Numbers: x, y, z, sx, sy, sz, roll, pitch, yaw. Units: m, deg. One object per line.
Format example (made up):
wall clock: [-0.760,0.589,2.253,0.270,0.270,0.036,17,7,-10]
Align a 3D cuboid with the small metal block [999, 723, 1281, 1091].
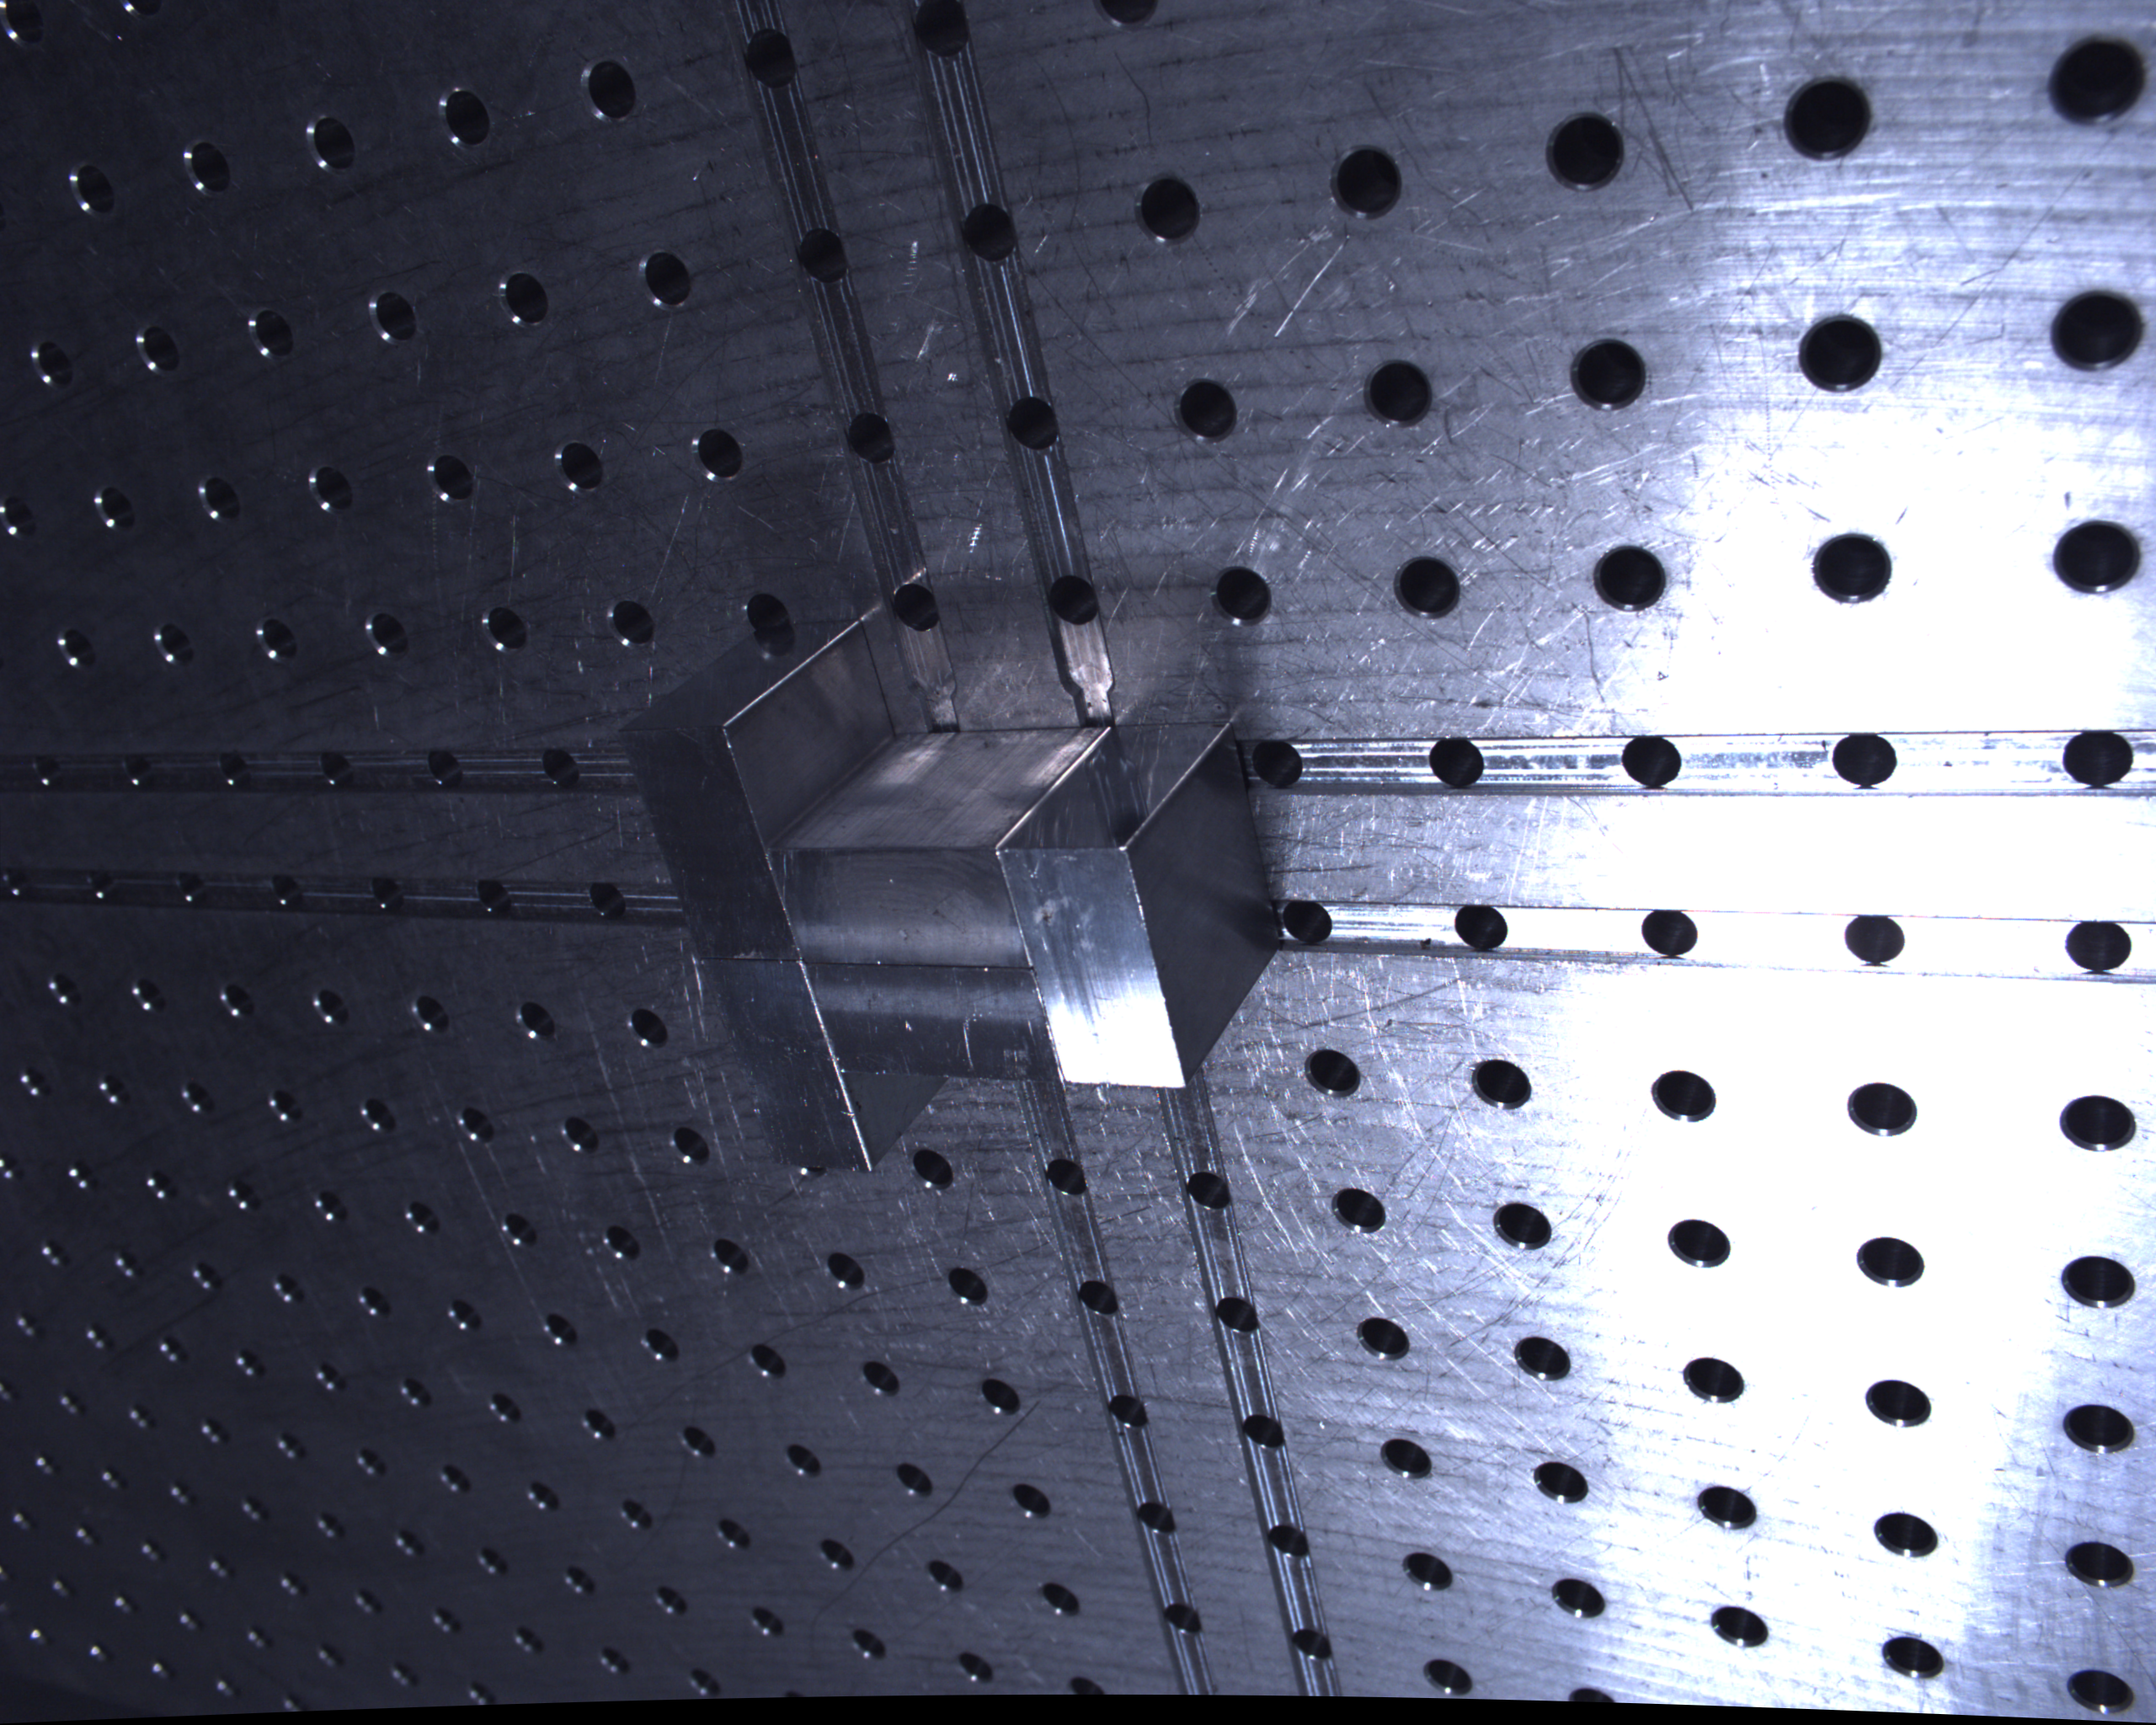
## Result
small metal block: [0.013,0.007,0.390,0.025,0.050,0.050,0,118,28]

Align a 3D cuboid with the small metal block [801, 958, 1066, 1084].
small metal block: [-0.018,0.018,0.413,0.050,0.050,0.025,0,118,28]

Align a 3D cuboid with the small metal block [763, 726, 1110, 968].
small metal block: [-0.023,-0.004,0.403,0.050,0.050,0.025,0,118,28]

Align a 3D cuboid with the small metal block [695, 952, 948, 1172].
small metal block: [-0.048,0.029,0.436,0.025,0.050,0.050,0,118,28]

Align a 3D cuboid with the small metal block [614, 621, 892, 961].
small metal block: [-0.060,-0.015,0.415,0.025,0.050,0.050,0,118,28]
